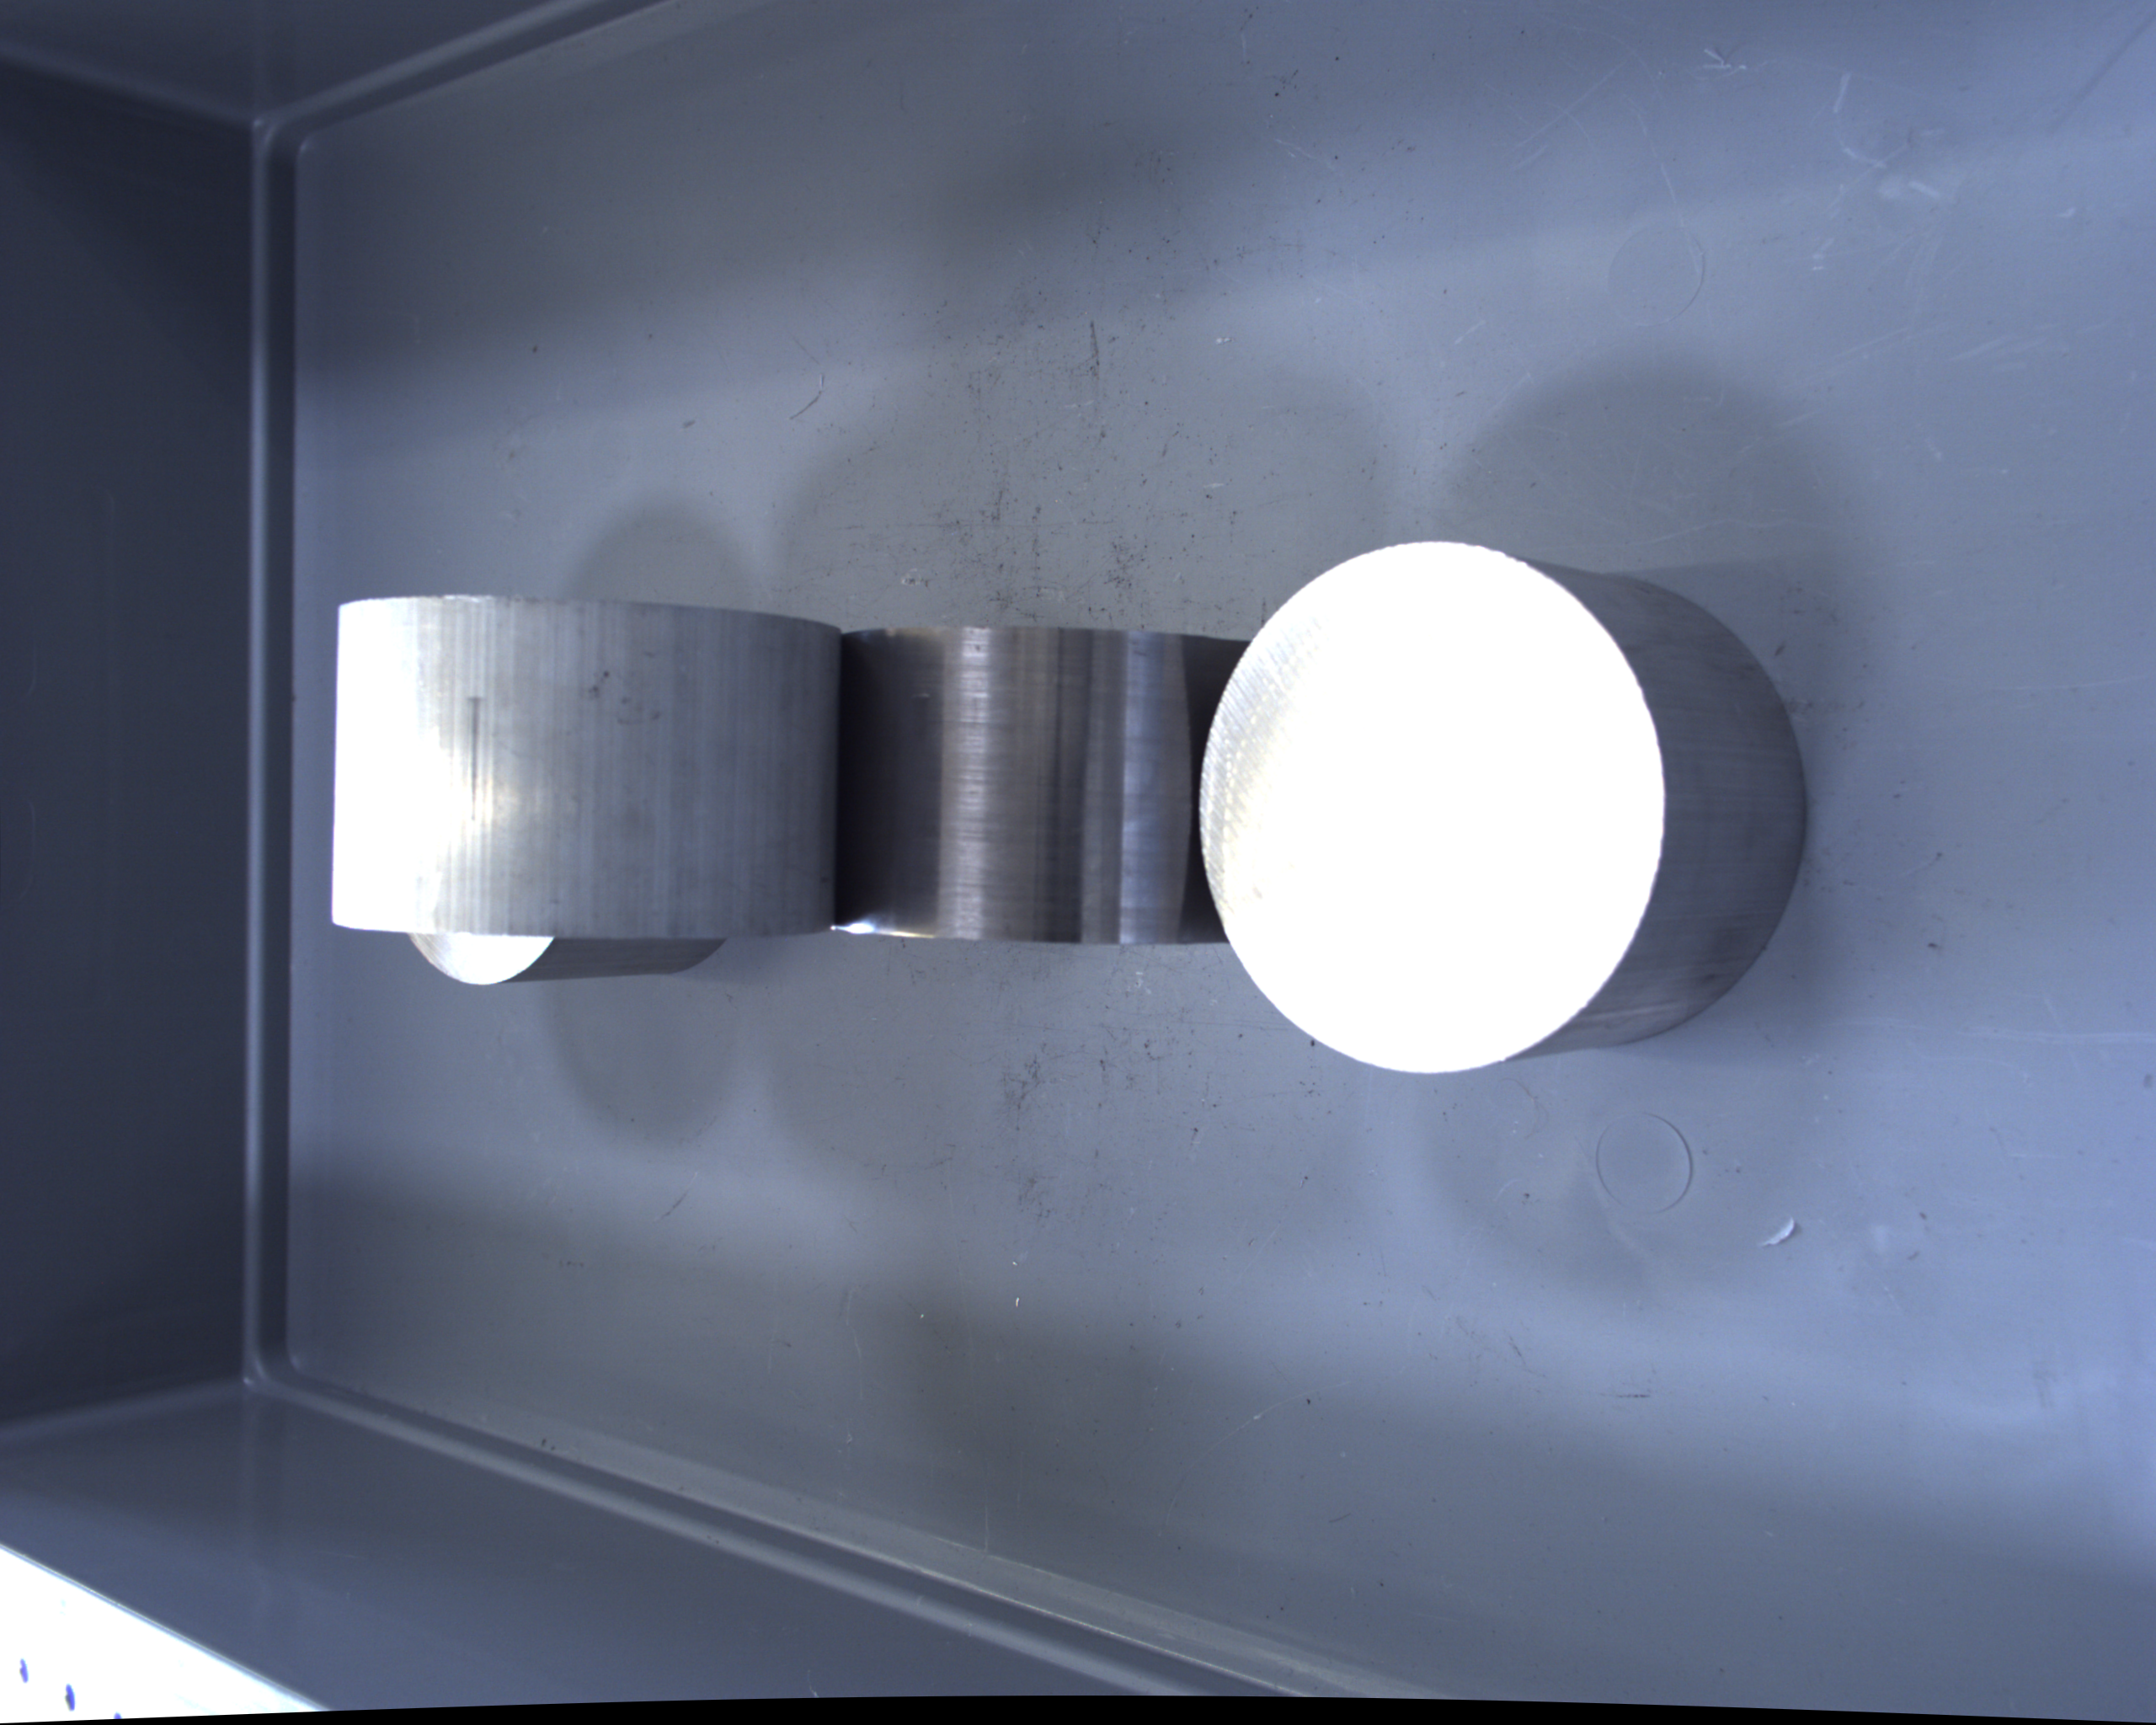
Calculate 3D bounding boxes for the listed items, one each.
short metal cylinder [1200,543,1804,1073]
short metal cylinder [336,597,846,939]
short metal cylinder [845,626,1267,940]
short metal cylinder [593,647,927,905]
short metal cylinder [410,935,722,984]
[{"bbox_3d":[0.067,-0.008,0.333,0.080,0.050,0.080,0,90,40],"label":"short metal cylinder"},{"bbox_3d":[-0.080,-0.015,0.345,0.080,0.081,0.050,2,92,40],"label":"short metal cylinder"},{"bbox_3d":[-0.004,-0.014,0.372,0.080,0.081,0.050,2,92,40],"label":"short metal cylinder"},{"bbox_3d":[-0.066,-0.016,0.423,0.080,0.081,0.050,2,92,40],"label":"short metal cylinder"},{"bbox_3d":[-0.118,-0.013,0.486,0.080,0.050,0.080,0,90,40],"label":"short metal cylinder"}]
